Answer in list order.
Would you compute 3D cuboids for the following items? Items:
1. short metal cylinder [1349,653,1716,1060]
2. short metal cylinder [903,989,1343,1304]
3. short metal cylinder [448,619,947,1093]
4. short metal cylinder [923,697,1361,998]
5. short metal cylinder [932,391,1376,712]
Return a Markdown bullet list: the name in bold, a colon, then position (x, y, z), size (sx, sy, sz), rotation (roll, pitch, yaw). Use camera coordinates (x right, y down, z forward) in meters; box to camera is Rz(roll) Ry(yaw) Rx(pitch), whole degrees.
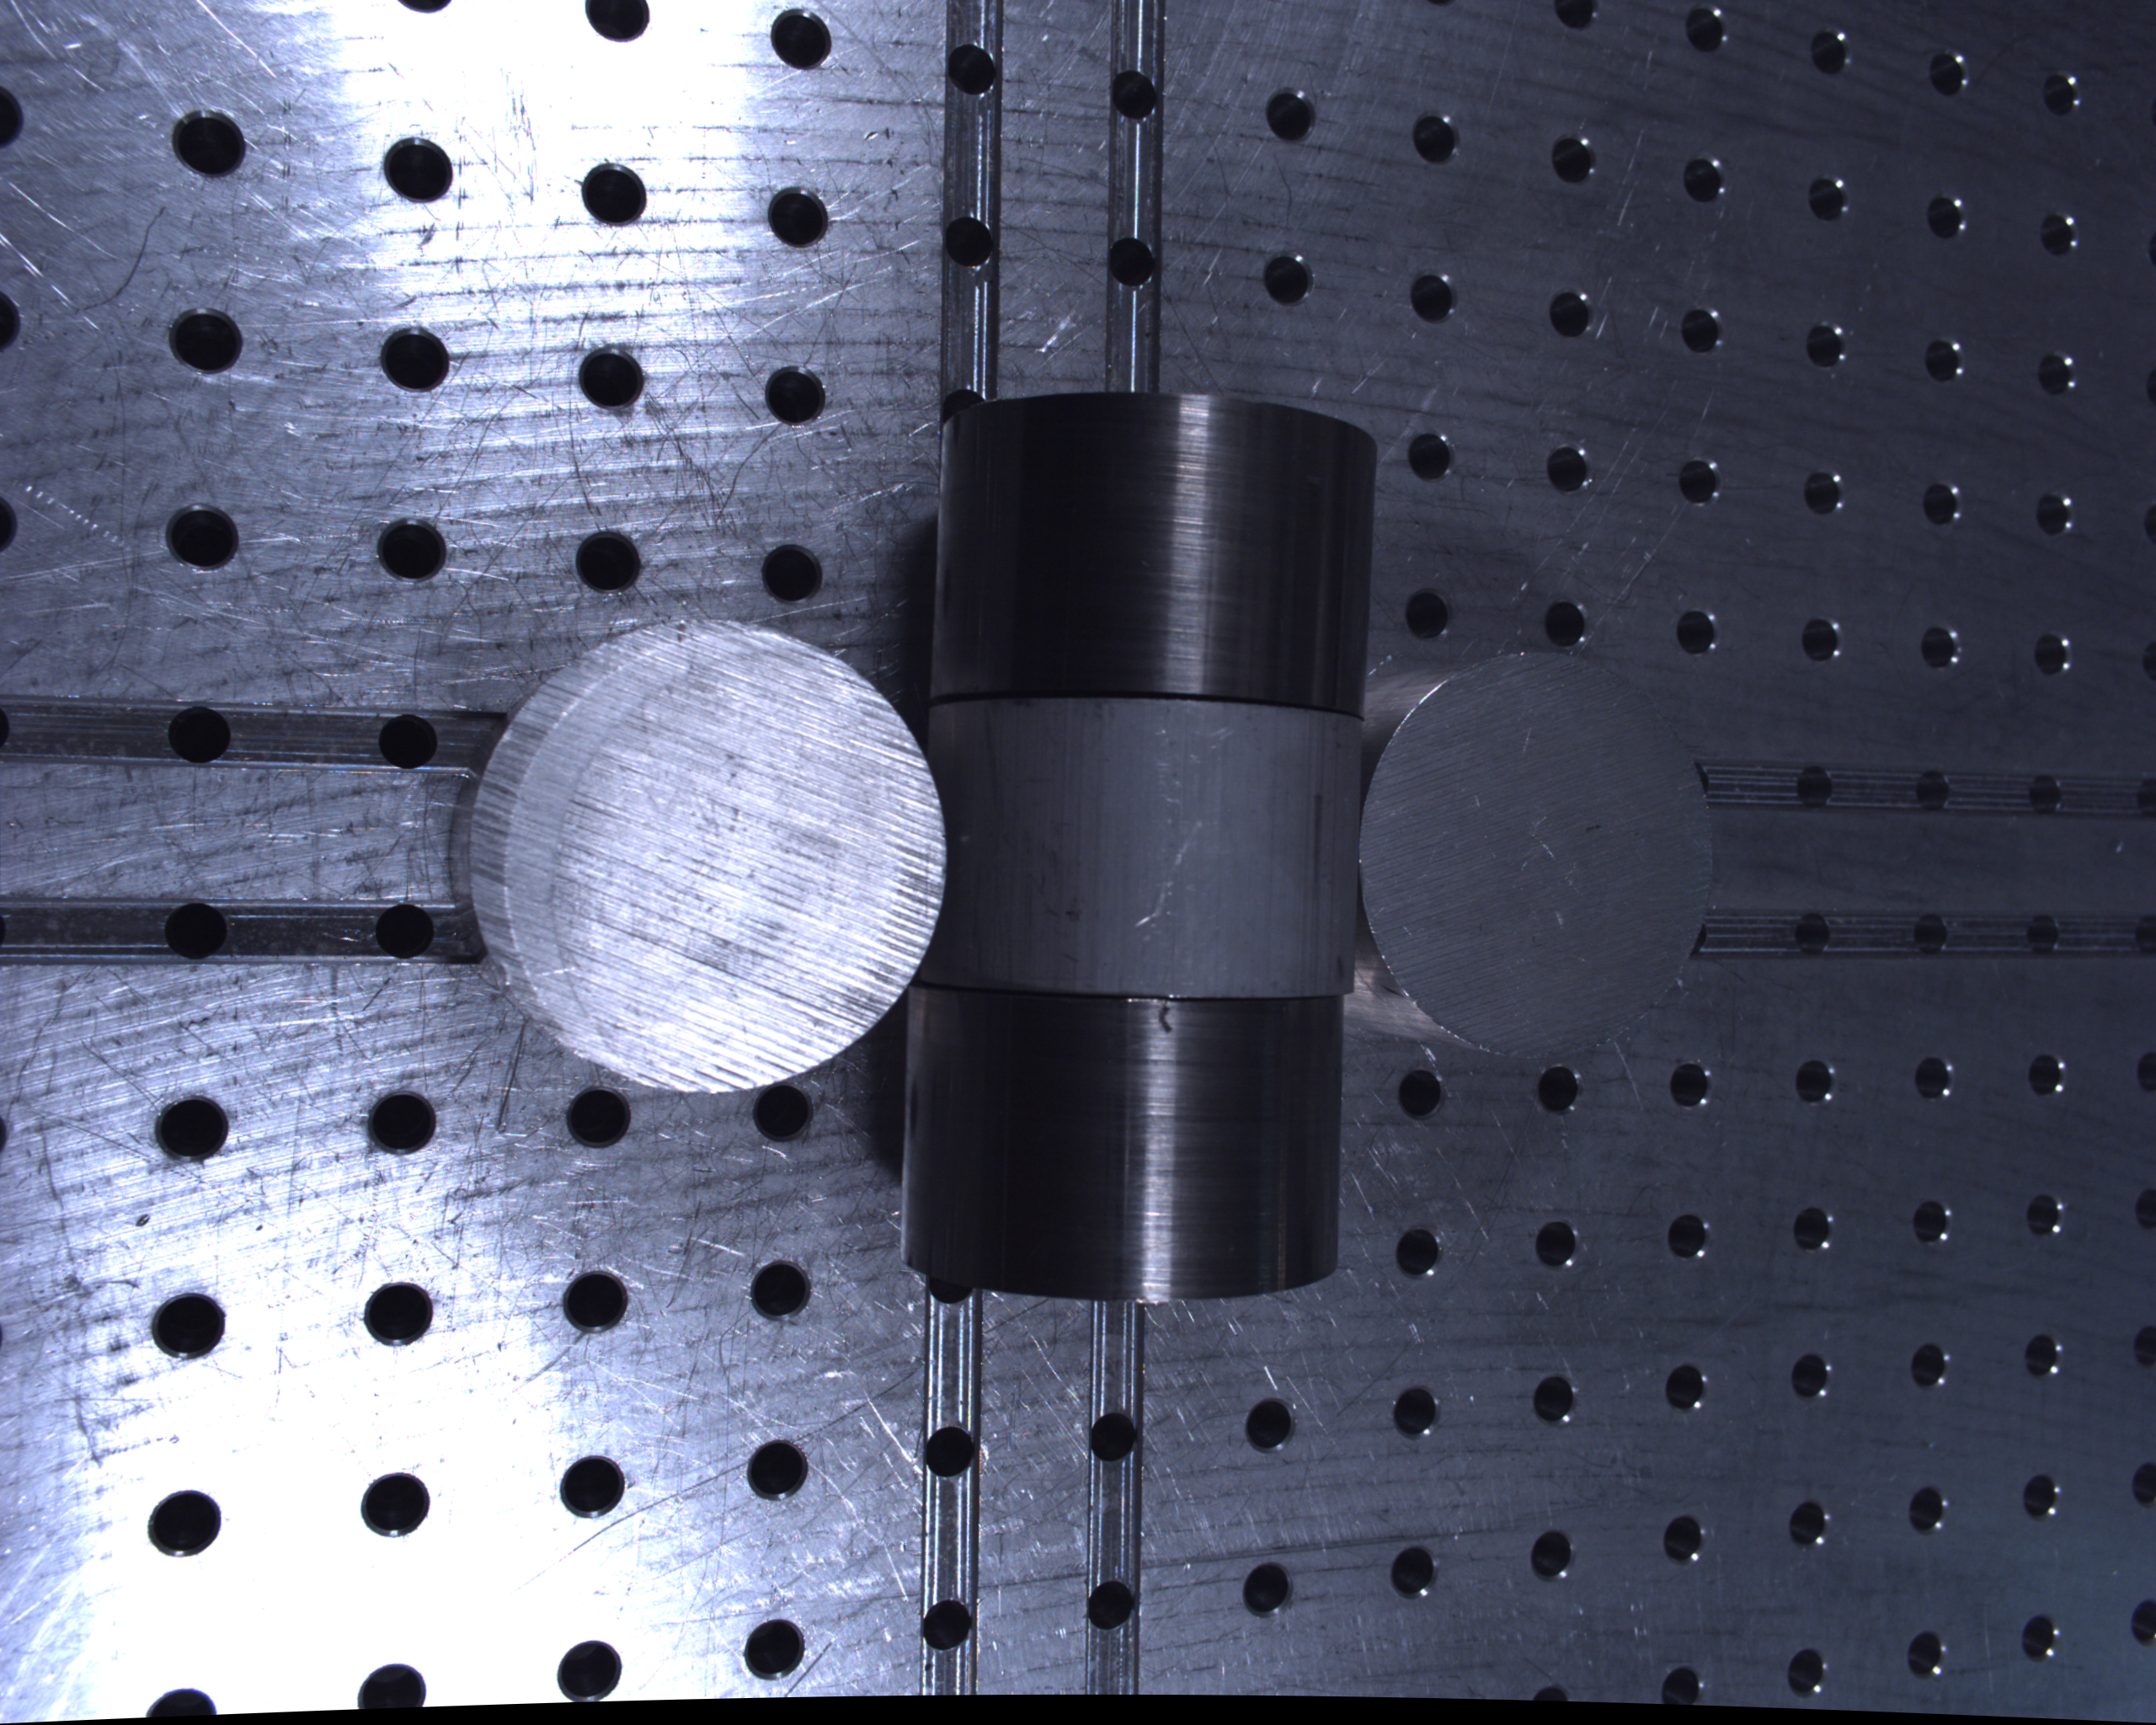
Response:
- **short metal cylinder**: position (0.082, -0.001, 0.430), size (0.081, 0.050, 0.079), rotation (0, 90, -21)
- **short metal cylinder**: position (0.008, 0.049, 0.387), size (0.081, 0.080, 0.050), rotation (1, 90, -20)
- **short metal cylinder**: position (-0.069, -0.001, 0.374), size (0.081, 0.050, 0.079), rotation (0, 90, -21)
- **short metal cylinder**: position (0.012, -0.002, 0.388), size (0.081, 0.080, 0.050), rotation (2, 90, -20)
- **short metal cylinder**: position (0.014, -0.054, 0.389), size (0.081, 0.080, 0.050), rotation (3, 89, -20)
